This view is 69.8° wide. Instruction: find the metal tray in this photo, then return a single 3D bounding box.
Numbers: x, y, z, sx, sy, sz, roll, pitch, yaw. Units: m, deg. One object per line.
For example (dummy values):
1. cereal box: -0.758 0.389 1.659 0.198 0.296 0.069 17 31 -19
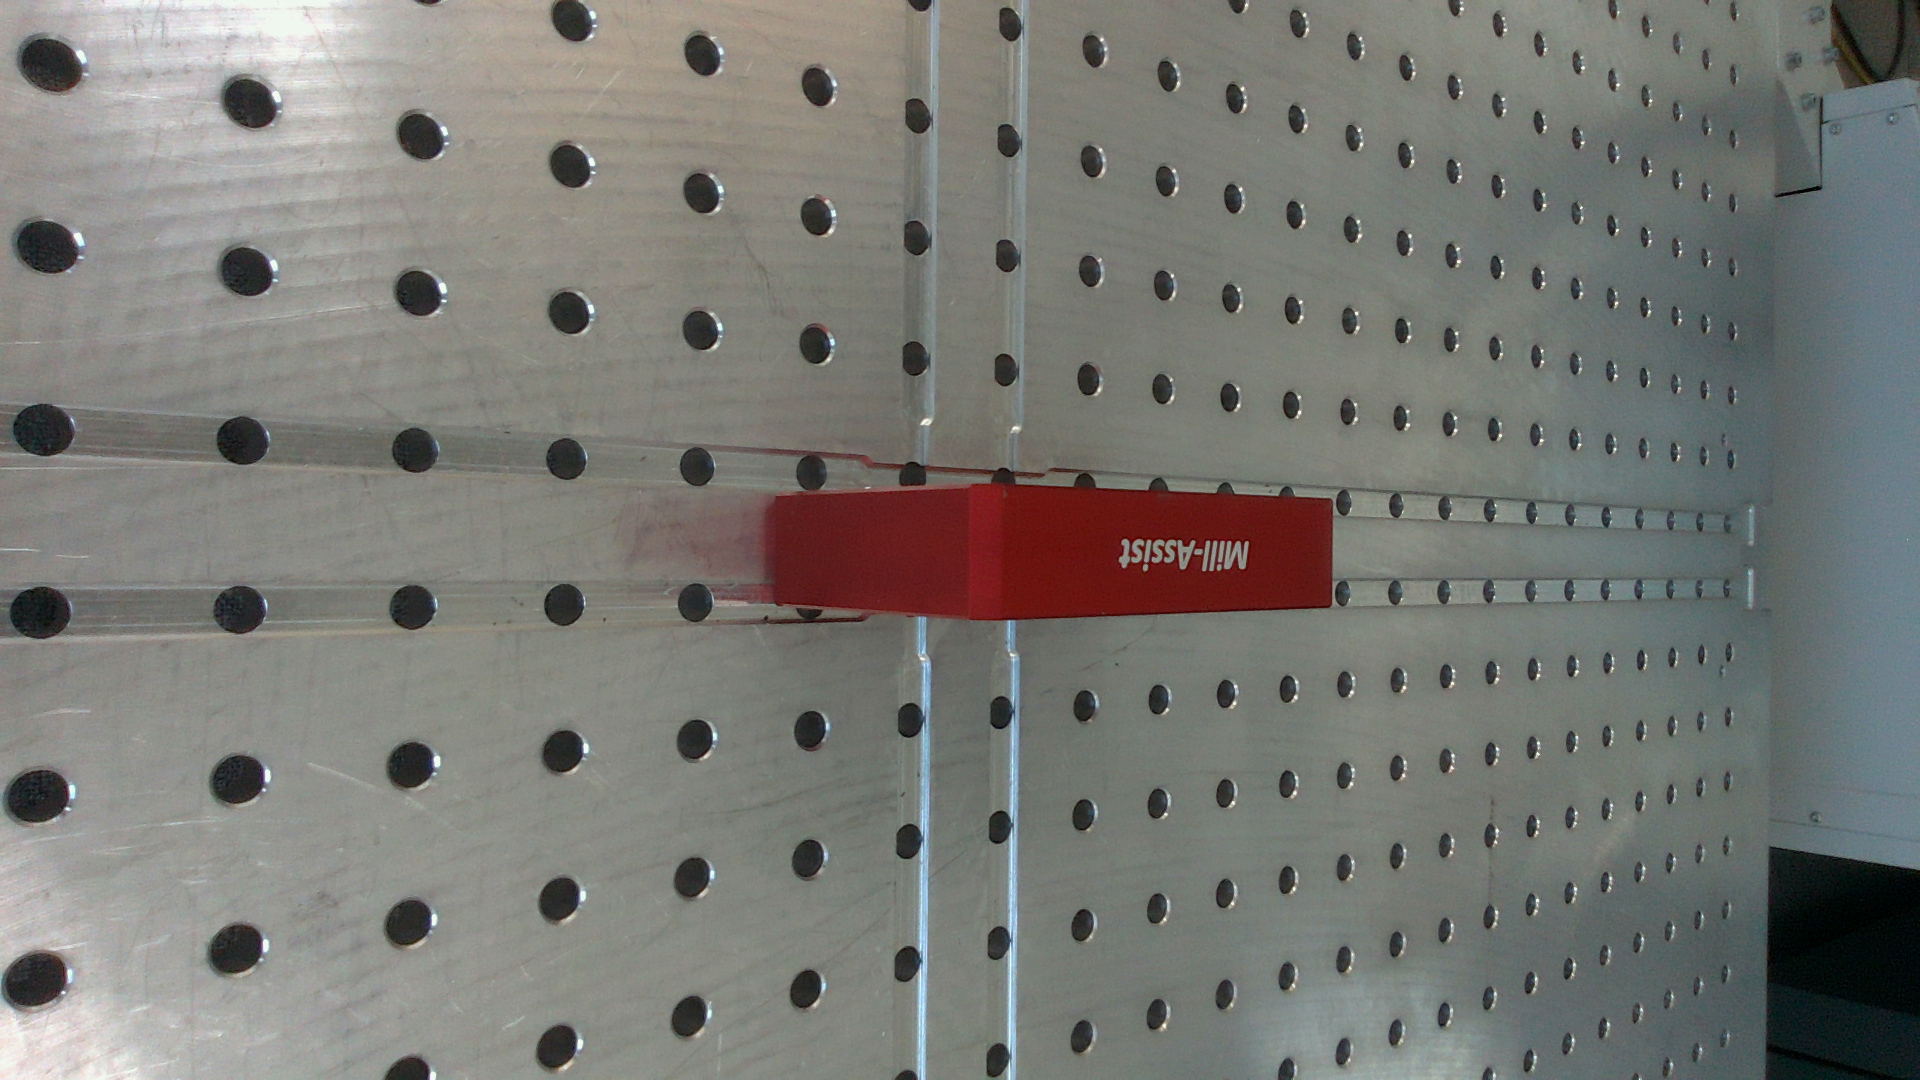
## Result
1. metal tray: 0.027 0.003 0.371 0.131 0.090 0.030 0 90 -40
